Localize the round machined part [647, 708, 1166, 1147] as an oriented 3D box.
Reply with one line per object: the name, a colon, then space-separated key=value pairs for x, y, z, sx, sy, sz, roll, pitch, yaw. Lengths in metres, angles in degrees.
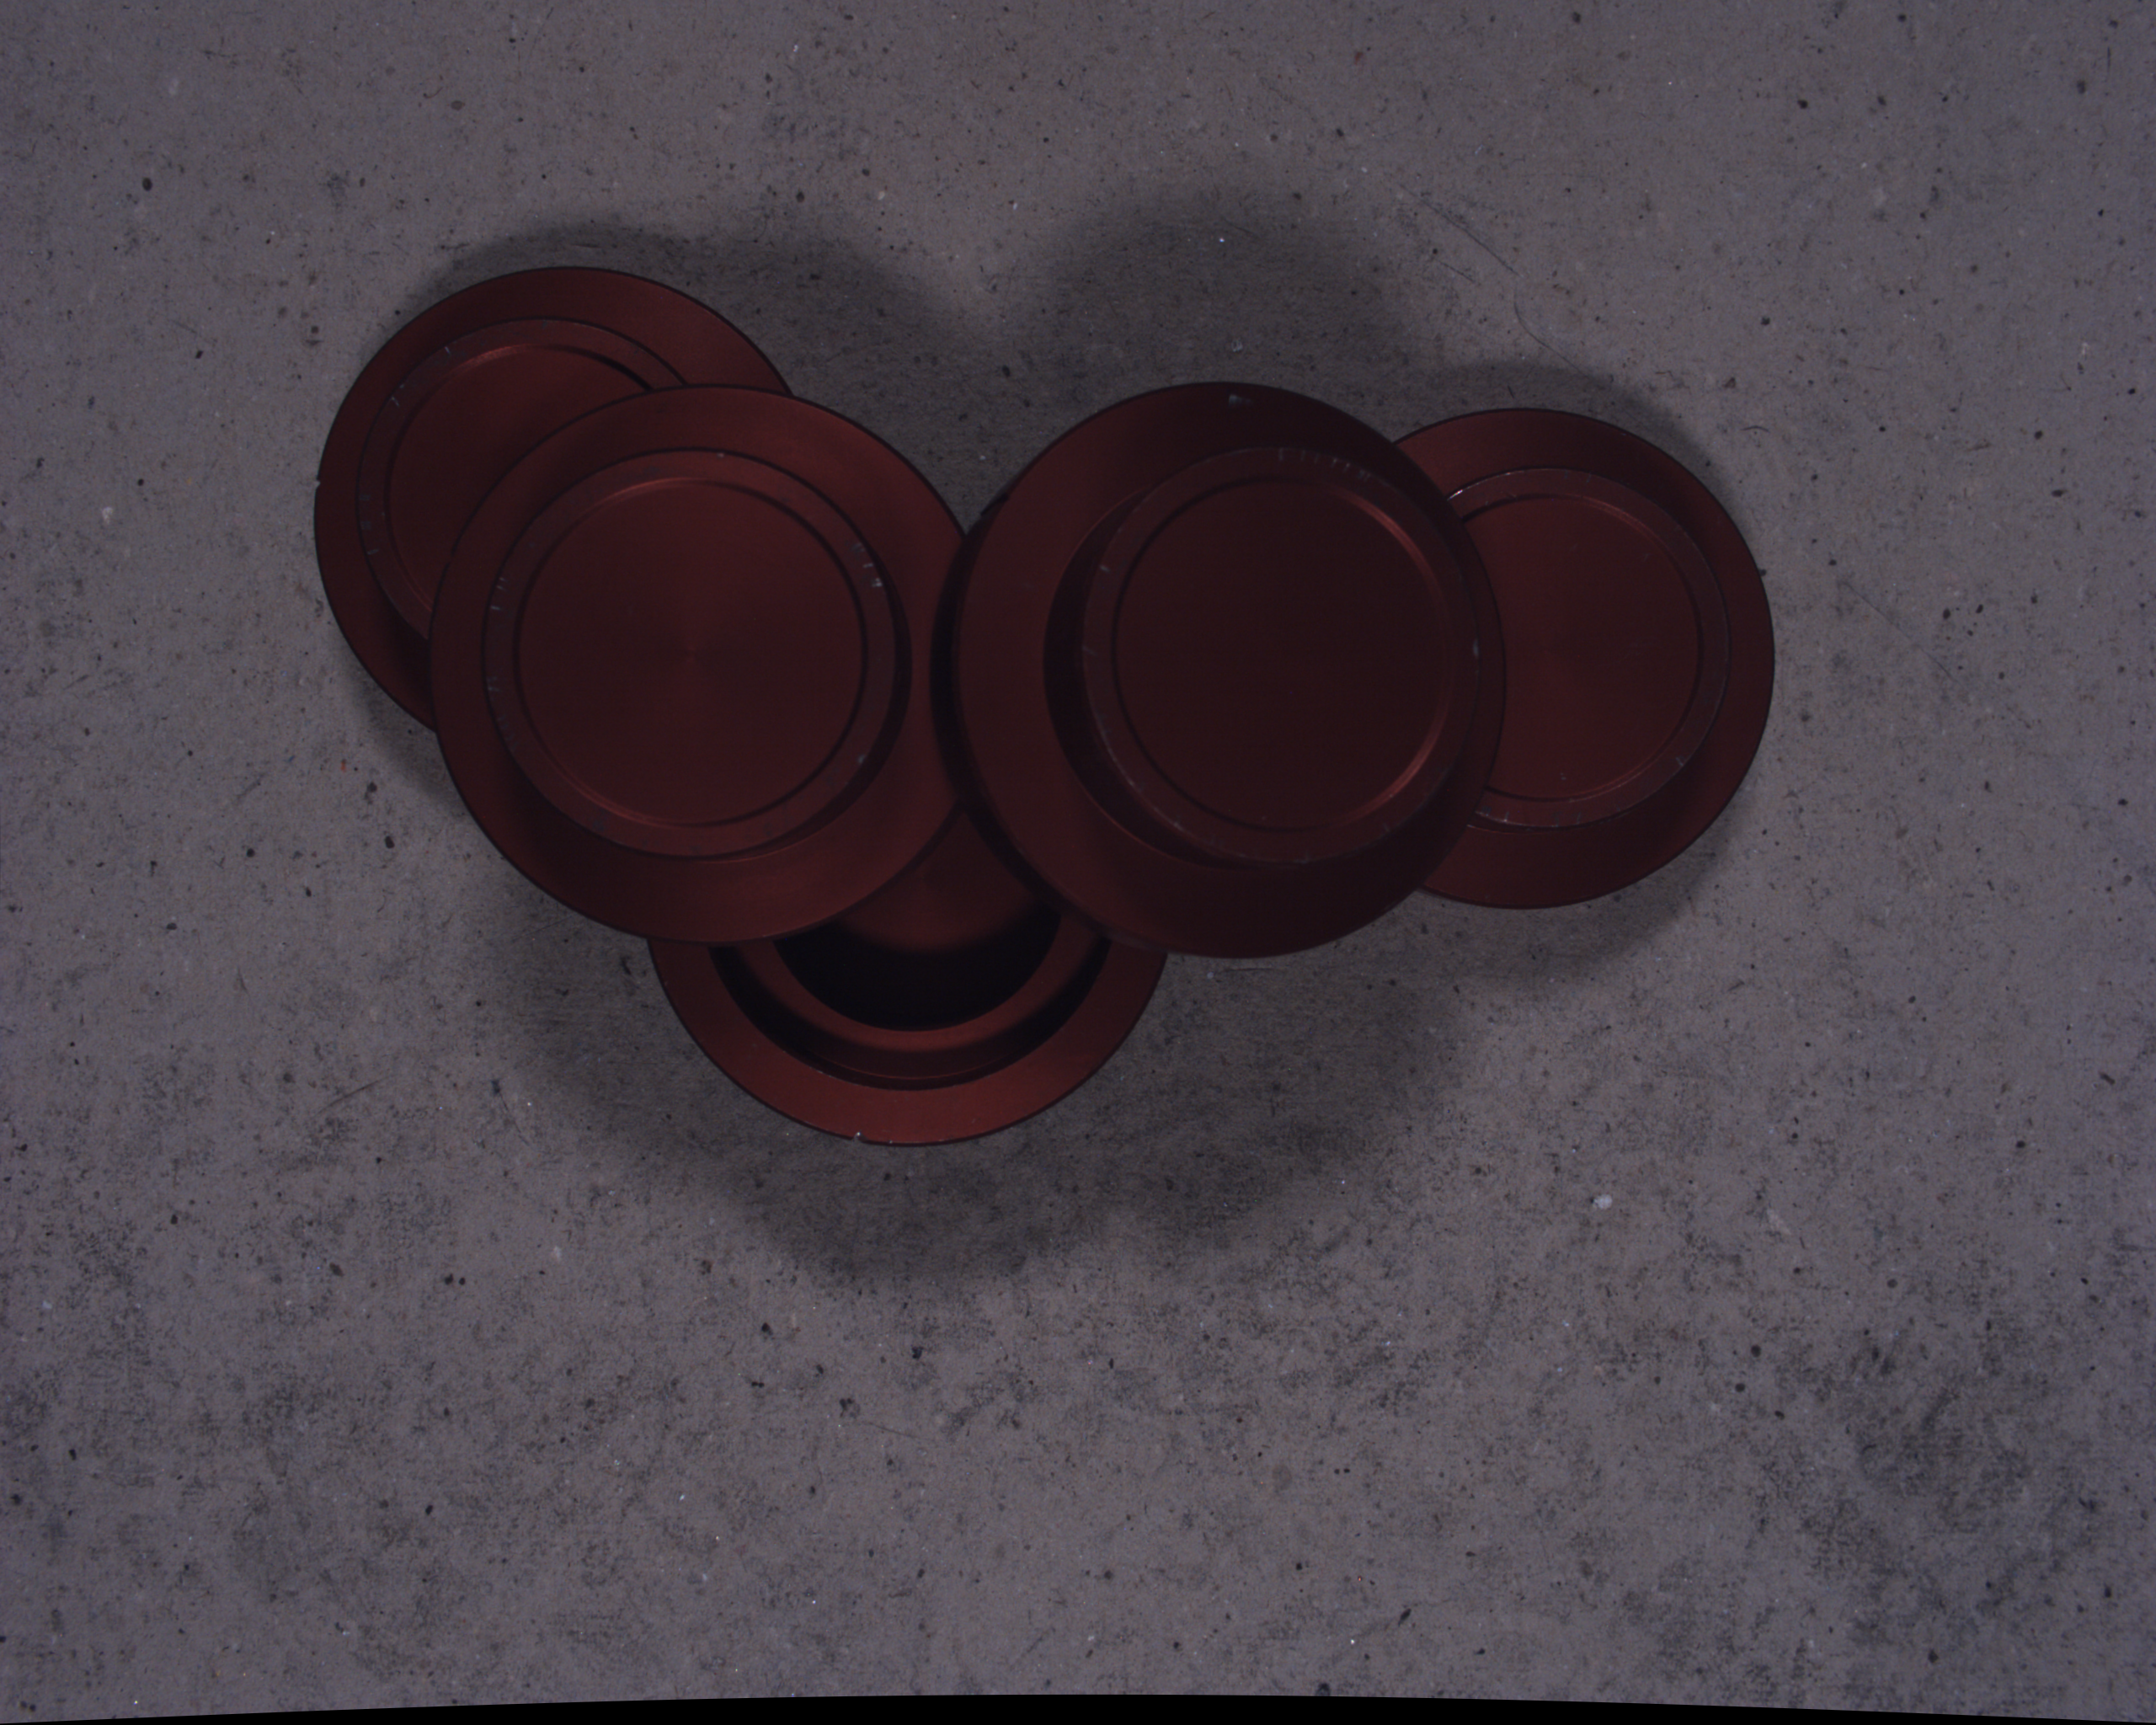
round machined part: x=-0.031 y=0.003 z=0.402 sx=0.099 sy=0.042 sz=0.097 roll=0 pitch=90 yaw=-1

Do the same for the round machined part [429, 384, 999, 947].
round machined part: x=-0.063 y=-0.034 z=0.359 sx=0.099 sy=0.042 sz=0.097 roll=0 pitch=90 yaw=-1

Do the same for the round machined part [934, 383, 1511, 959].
round machined part: x=0.028 y=-0.033 z=0.351 sx=0.099 sy=0.042 sz=0.097 roll=0 pitch=89 yaw=-14

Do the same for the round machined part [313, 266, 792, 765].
round machined part: x=-0.098 y=-0.066 z=0.401 sx=0.099 sy=0.042 sz=0.097 roll=0 pitch=90 yaw=-1

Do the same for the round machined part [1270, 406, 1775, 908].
round machined part: x=0.086 y=-0.040 z=0.403 sx=0.099 sy=0.042 sz=0.097 roll=0 pitch=90 yaw=-1
